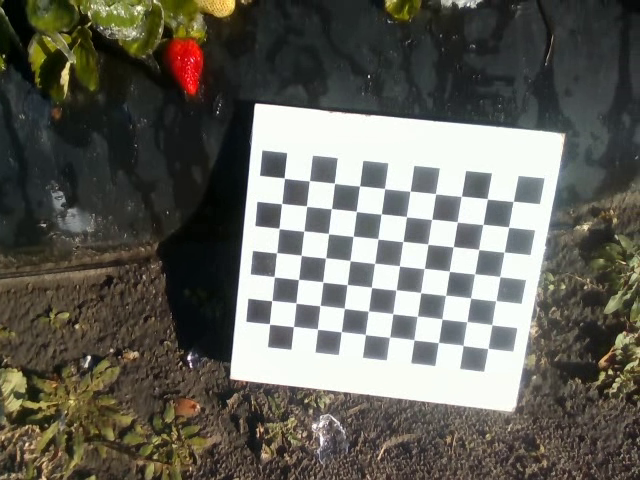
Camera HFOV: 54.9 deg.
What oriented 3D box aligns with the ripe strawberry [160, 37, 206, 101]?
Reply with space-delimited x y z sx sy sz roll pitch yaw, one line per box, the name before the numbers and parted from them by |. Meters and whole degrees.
ripe strawberry | -0.126 -0.158 0.562 0.041 0.052 0.040 -11 1 2
